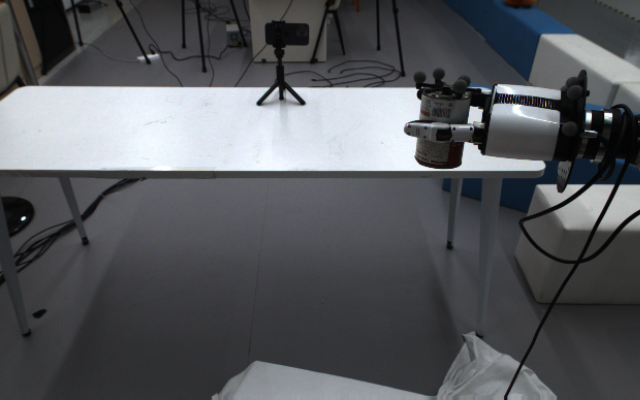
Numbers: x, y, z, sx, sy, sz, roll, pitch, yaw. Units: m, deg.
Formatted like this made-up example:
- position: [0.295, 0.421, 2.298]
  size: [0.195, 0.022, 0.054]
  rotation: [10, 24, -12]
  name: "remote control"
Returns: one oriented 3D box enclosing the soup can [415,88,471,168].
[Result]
- position: [0.173, -0.103, 0.685]
  size: [0.067, 0.101, 0.067]
  rotation: [1, 25, 0]
  name: "soup can"
